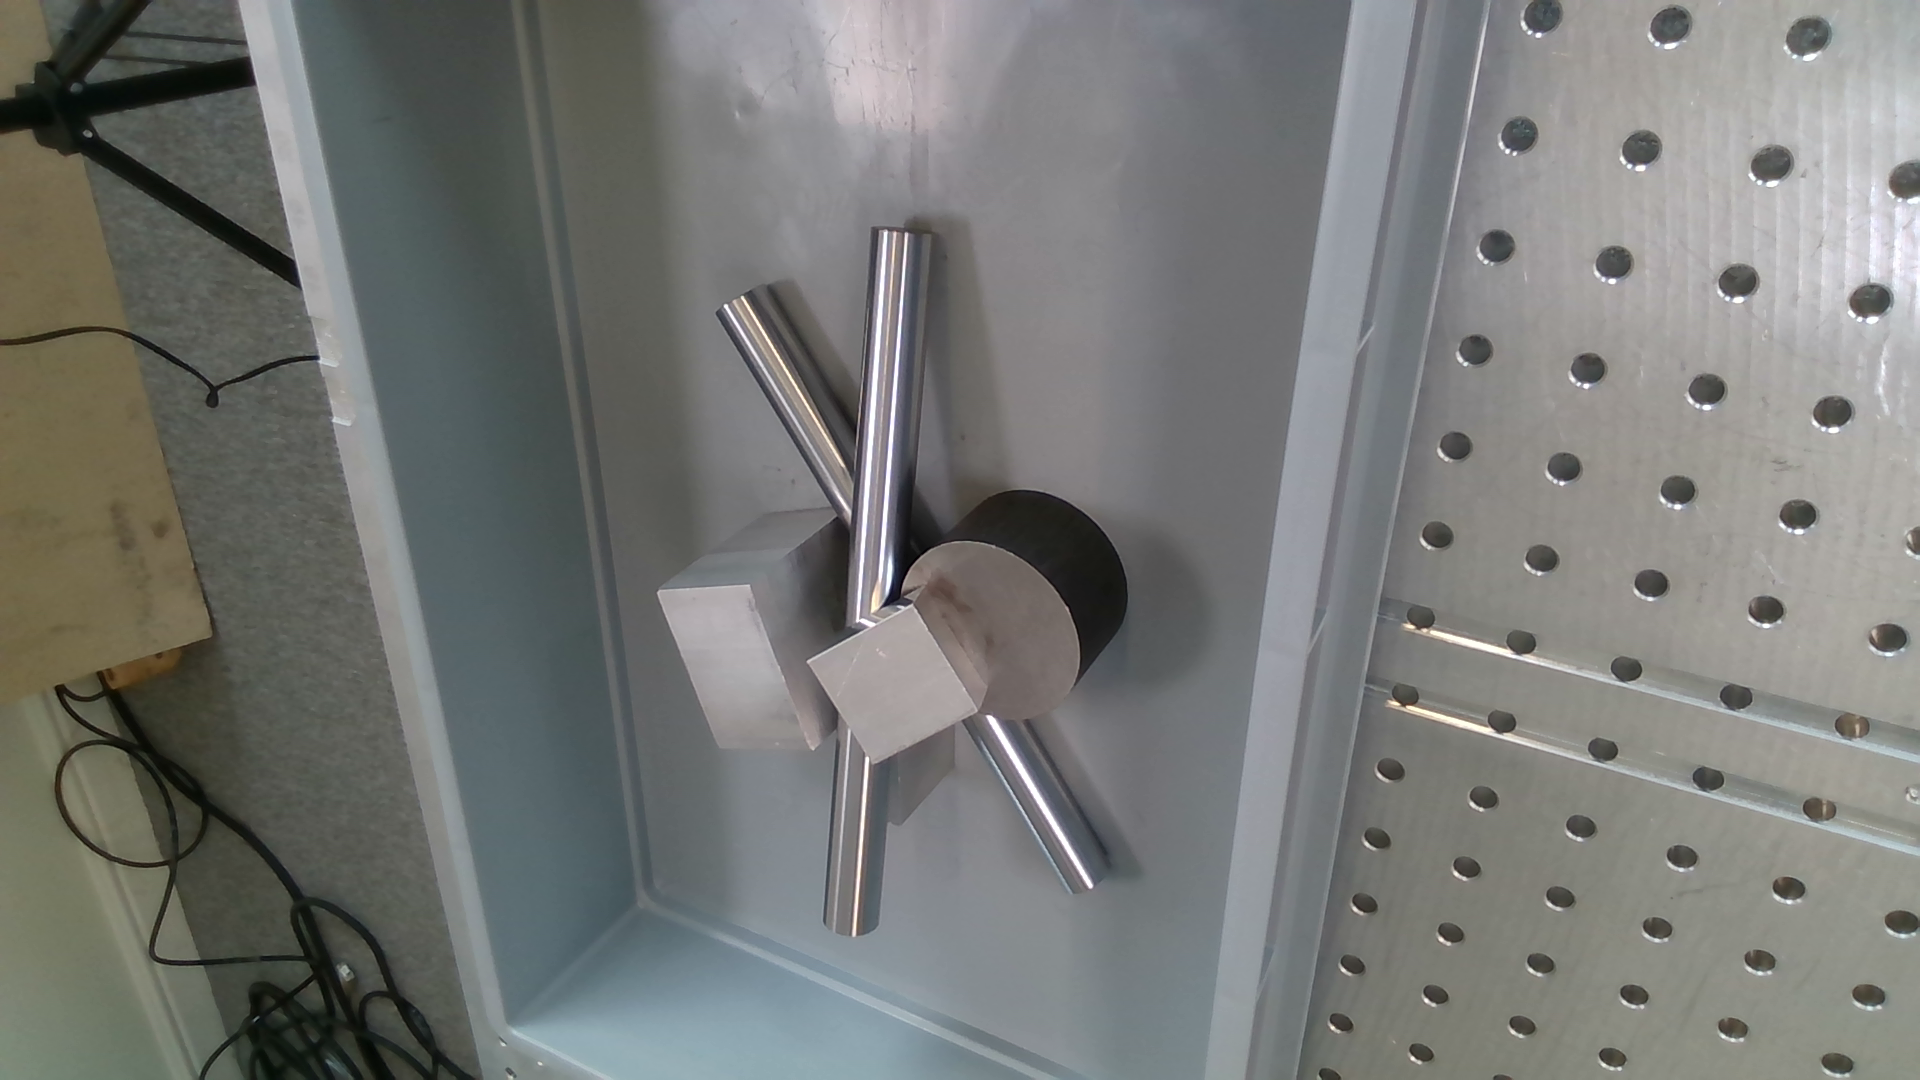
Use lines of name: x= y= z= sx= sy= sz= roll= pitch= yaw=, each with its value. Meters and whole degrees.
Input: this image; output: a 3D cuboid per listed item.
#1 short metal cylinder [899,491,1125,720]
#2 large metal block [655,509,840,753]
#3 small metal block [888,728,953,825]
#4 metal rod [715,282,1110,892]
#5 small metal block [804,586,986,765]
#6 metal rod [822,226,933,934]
short metal cylinder: x=0.022 y=0.026 z=0.564 sx=0.080 sy=0.050 sz=0.080 roll=14 pitch=122 yaw=24
large metal block: x=-0.078 y=0.038 z=0.611 sx=0.050 sy=0.080 sz=0.080 roll=-4 pitch=113 yaw=33
small metal block: x=-0.026 y=0.093 z=0.630 sx=0.025 sy=0.050 sz=0.050 roll=14 pitch=121 yaw=25
metal rod: x=-0.017 y=0.025 z=0.604 sx=0.025 sy=0.025 sz=0.300 roll=-23 pitch=102 yaw=38
small metal block: x=-0.025 y=0.054 z=0.549 sx=0.050 sy=0.025 sz=0.050 roll=-29 pitch=99 yaw=16
metal rod: x=-0.035 y=0.024 z=0.569 sx=0.025 sy=0.025 sz=0.300 roll=13 pitch=108 yaw=25
